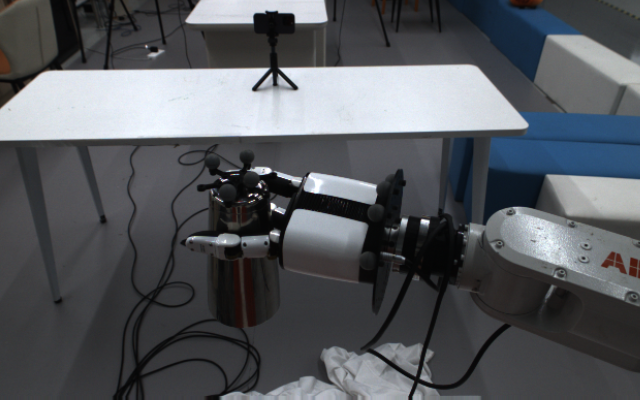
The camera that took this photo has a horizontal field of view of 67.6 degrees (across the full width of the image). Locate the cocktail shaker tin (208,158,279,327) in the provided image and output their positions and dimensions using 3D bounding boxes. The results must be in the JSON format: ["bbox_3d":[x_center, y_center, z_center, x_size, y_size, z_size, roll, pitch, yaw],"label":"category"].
[{"bbox_3d":[-0.091,0.058,0.577,0.093,0.170,0.093,2,33,-1],"label":"cocktail shaker tin"}]
